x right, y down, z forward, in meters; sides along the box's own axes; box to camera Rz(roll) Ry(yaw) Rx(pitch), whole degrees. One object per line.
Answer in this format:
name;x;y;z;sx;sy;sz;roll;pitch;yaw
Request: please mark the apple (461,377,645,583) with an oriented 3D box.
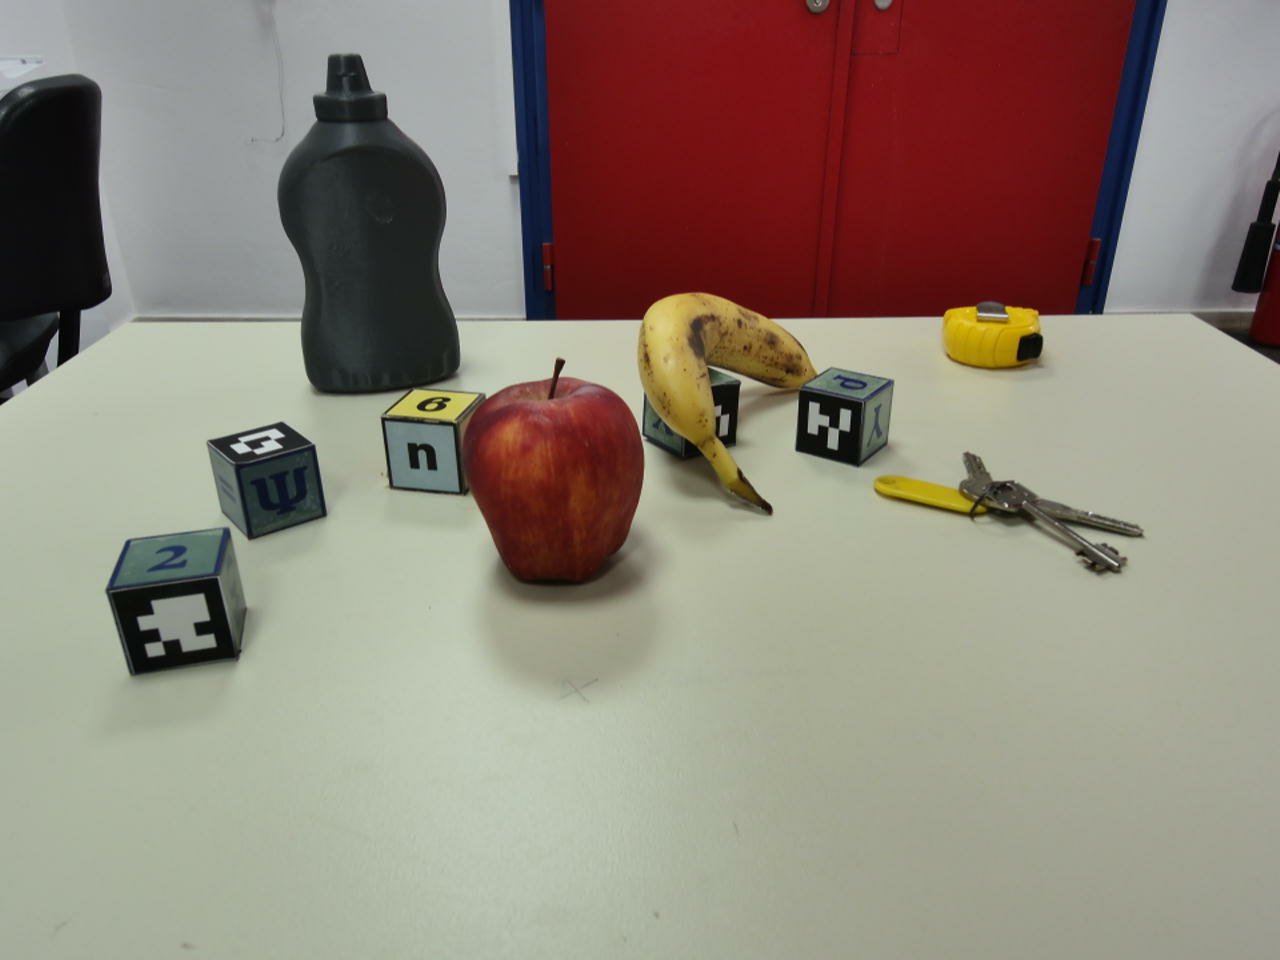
apple;-0.037;-0.007;0.424;0.083;0.090;0.083;0;24;0
